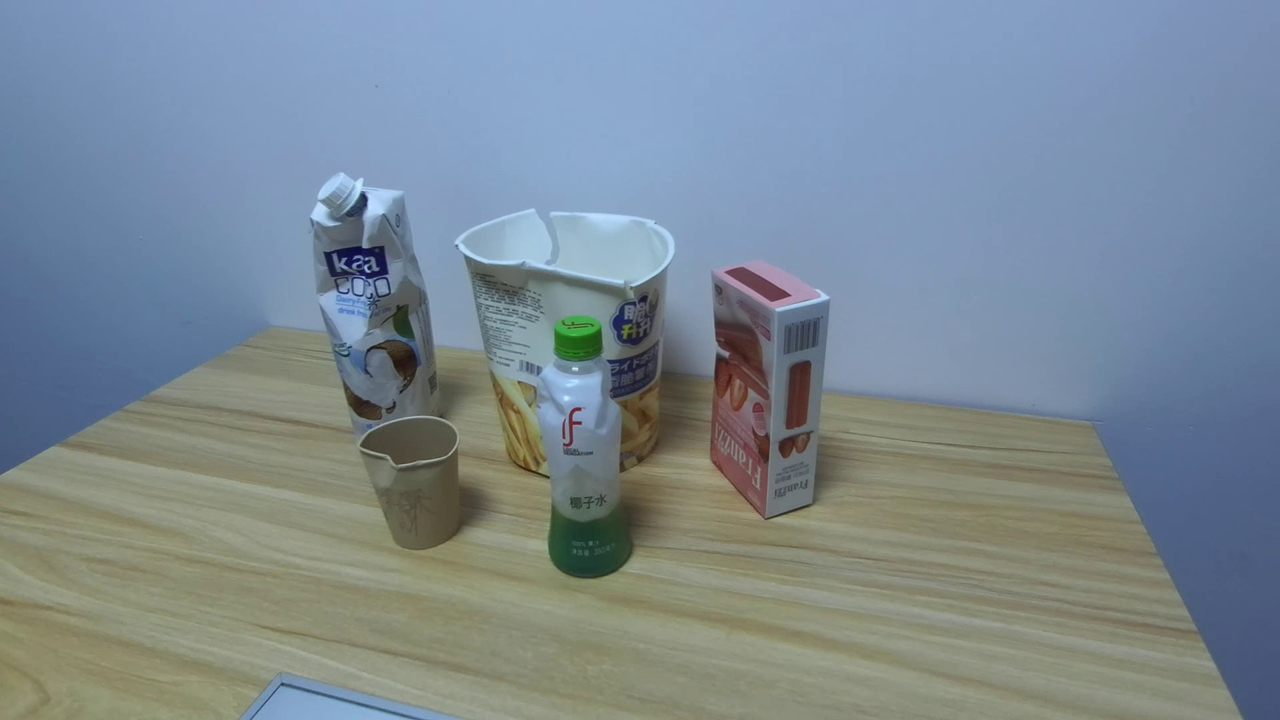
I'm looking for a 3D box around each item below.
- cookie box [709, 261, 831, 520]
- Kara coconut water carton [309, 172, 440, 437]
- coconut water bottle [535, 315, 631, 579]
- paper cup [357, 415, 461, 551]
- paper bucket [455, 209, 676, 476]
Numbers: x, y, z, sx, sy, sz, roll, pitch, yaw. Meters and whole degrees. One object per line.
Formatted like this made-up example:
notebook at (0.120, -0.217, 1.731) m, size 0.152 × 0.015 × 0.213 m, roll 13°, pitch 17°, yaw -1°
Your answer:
cookie box at (0.097, 0.020, 0.566) m, size 0.049 × 0.188 × 0.104 m, roll -12°, pitch 29°, yaw -19°
Kara coconut water carton at (-0.239, -0.044, 0.634) m, size 0.083 × 0.256 × 0.078 m, roll 5°, pitch 31°, yaw 9°
coconut water bottle at (-0.038, 0.061, 0.492) m, size 0.069 × 0.186 × 0.069 m, roll -1°, pitch 29°, yaw 1°
paper cup at (-0.173, 0.097, 0.549) m, size 0.074 × 0.081 × 0.068 m, roll -11°, pitch 27°, yaw -20°
paper bucket at (-0.058, -0.018, 0.632) m, size 0.202 × 0.197 × 0.146 m, roll 12°, pitch 29°, yaw 24°
